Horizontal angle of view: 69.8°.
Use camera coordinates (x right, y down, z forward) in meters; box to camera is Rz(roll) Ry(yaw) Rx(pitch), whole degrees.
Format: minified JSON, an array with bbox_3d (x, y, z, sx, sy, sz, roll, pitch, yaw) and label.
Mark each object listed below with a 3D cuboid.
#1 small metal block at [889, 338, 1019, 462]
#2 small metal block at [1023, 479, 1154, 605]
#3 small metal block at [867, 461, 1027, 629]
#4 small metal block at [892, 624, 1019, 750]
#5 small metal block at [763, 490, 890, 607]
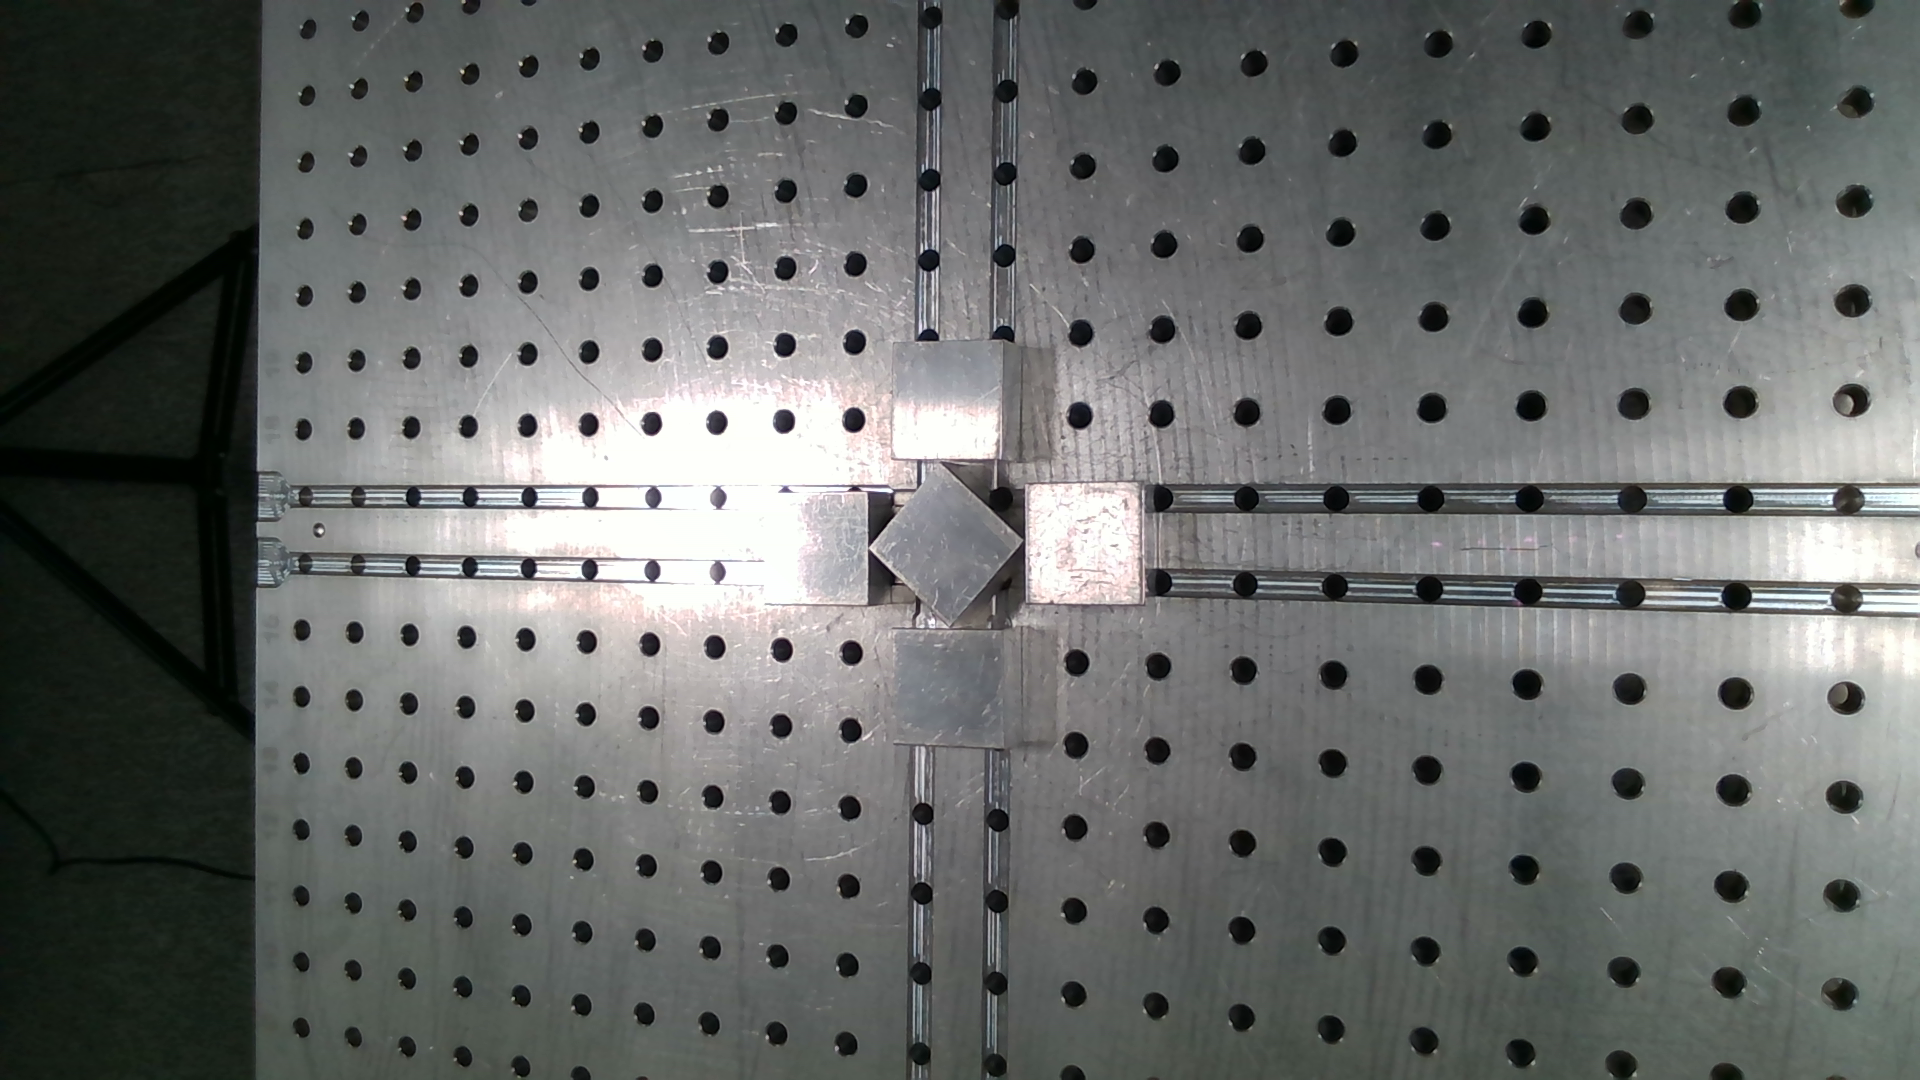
[{"bbox_3d":[-0.002,-0.059,0.588,0.050,0.025,0.050,1,91,20],"label":"small metal block"},{"bbox_3d":[0.054,0.001,0.568,0.050,0.025,0.050,-1,90,20],"label":"small metal block"},{"bbox_3d":[-0.002,0.002,0.589,0.050,0.025,0.050,44,104,15],"label":"small metal block"},{"bbox_3d":[-0.001,0.062,0.589,0.050,0.025,0.050,0,90,20],"label":"small metal block"},{"bbox_3d":[-0.059,0.004,0.610,0.050,0.025,0.050,0,91,20],"label":"small metal block"}]
